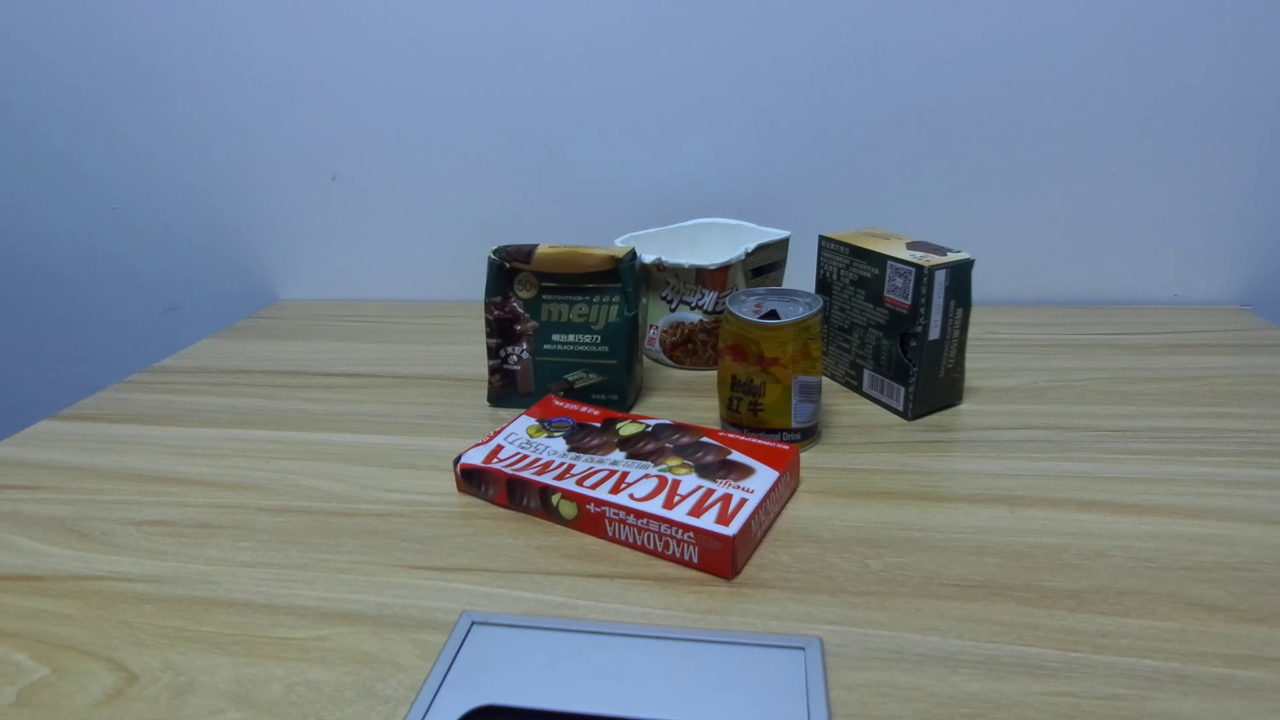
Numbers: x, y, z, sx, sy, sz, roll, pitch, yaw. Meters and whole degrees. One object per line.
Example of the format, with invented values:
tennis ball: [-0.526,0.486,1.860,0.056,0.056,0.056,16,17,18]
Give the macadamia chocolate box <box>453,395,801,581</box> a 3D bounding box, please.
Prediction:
macadamia chocolate box: [-0.009,0.063,0.412,0.182,0.028,0.106,10,26,29]

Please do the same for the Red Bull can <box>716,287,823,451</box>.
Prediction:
Red Bull can: [0.083,0.006,0.447,0.072,0.092,0.072,-1,25,1]

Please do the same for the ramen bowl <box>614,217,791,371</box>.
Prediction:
ramen bowl: [0.045,-0.059,0.595,0.133,0.097,0.114,12,29,29]

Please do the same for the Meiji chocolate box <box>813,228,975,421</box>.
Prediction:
Meiji chocolate box: [0.178,-0.031,0.502,0.058,0.111,0.112,-12,25,-23]

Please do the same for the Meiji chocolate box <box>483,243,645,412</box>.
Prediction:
Meiji chocolate box: [-0.054,-0.025,0.516,0.117,0.117,0.052,3,16,13]
